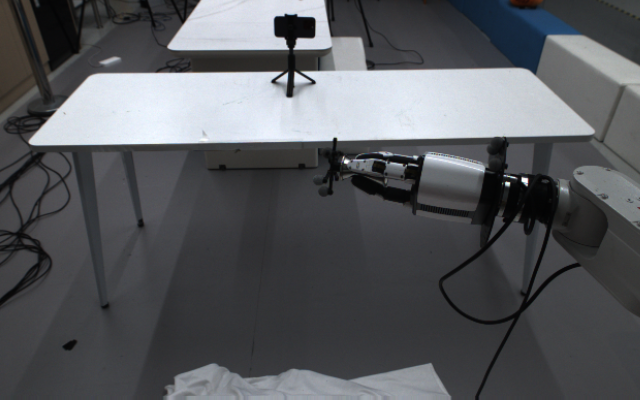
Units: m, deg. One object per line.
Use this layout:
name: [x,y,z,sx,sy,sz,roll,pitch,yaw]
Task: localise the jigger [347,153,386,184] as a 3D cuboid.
jigger: [0.074,-0.050,0.726,0.071,0.043,0.043,7,35,16]
